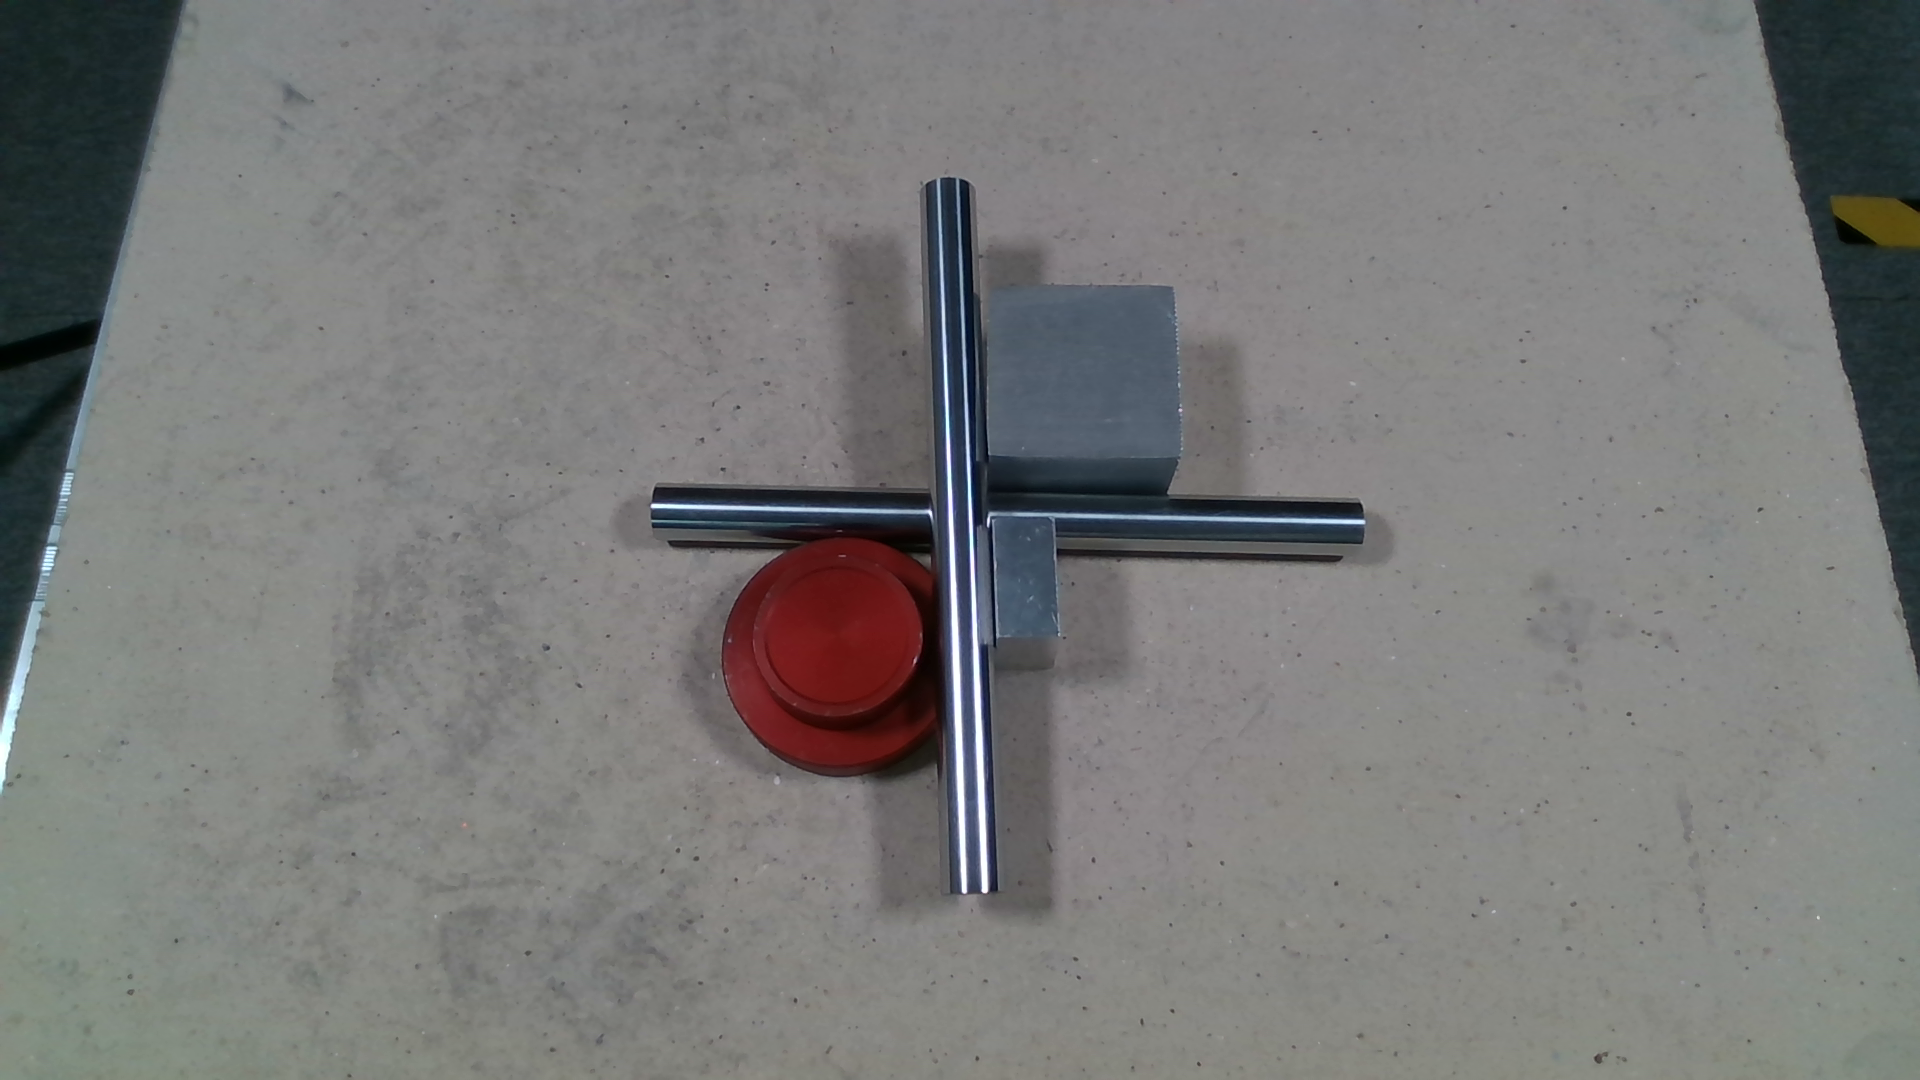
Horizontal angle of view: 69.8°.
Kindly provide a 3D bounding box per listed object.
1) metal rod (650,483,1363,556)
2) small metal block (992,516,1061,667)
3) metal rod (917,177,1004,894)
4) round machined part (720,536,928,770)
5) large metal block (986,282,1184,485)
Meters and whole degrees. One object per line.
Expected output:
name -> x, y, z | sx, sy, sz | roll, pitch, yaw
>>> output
metal rod -> 0.019, -0.009, 0.591 | 0.300, 0.025, 0.025 | 1, 70, 0
small metal block -> 0.026, 0.023, 0.567 | 0.025, 0.050, 0.050 | -1, 70, -1
metal rod -> -0.001, -0.009, 0.565 | 0.025, 0.025, 0.299 | -2, 74, -1
round machined part -> -0.049, 0.044, 0.563 | 0.098, 0.042, 0.098 | 0, 70, 0
large metal block -> 0.051, -0.063, 0.597 | 0.080, 0.050, 0.080 | 1, 70, 0
